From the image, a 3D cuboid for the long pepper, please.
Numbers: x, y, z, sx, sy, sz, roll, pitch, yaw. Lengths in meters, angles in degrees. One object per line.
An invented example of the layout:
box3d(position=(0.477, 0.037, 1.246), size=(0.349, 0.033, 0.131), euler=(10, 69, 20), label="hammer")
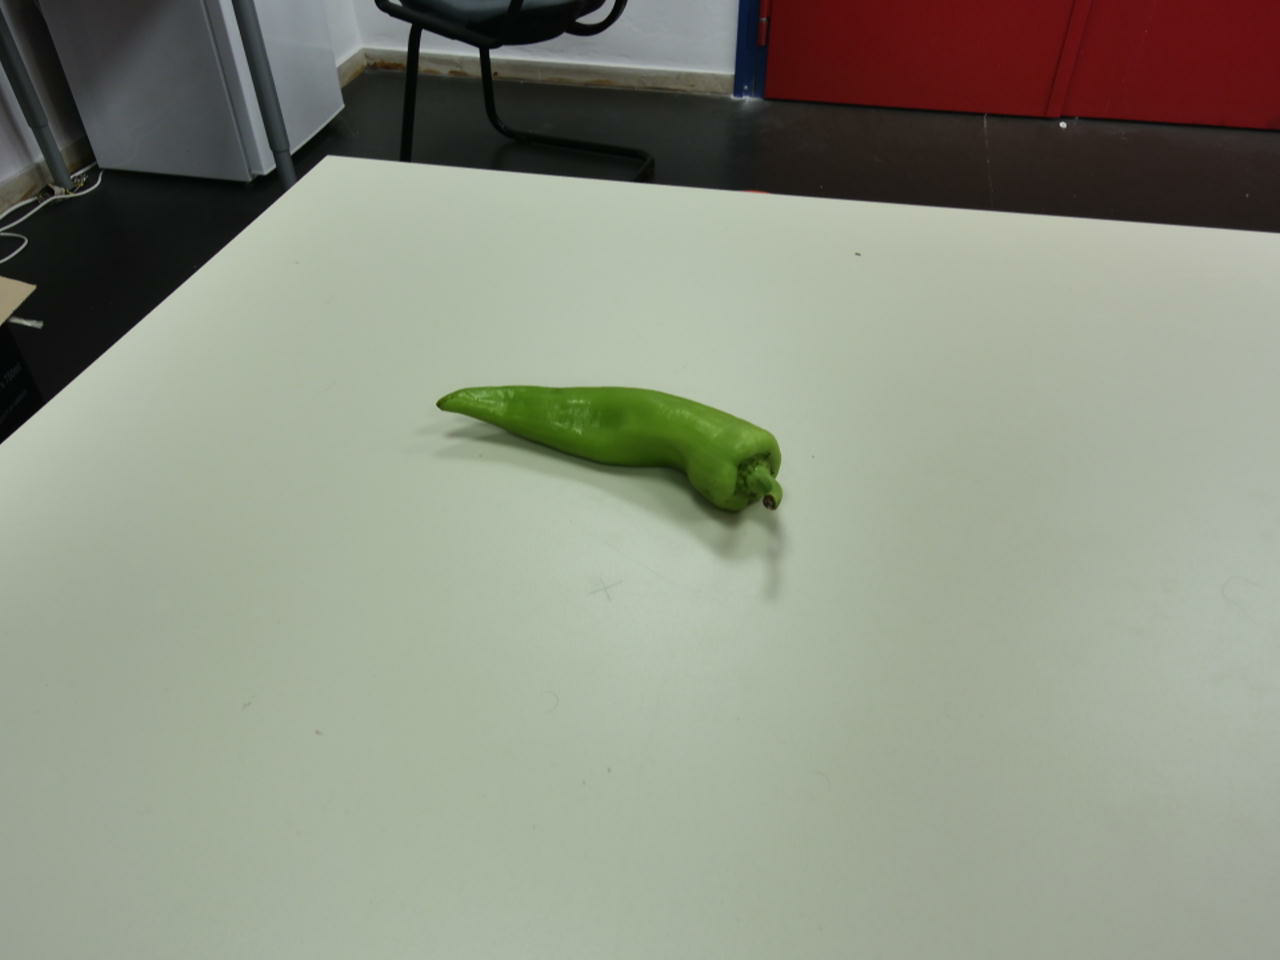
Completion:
box3d(position=(-0.009, -0.027, 0.538), size=(0.205, 0.045, 0.065), euler=(19, 43, 23), label="long pepper")
